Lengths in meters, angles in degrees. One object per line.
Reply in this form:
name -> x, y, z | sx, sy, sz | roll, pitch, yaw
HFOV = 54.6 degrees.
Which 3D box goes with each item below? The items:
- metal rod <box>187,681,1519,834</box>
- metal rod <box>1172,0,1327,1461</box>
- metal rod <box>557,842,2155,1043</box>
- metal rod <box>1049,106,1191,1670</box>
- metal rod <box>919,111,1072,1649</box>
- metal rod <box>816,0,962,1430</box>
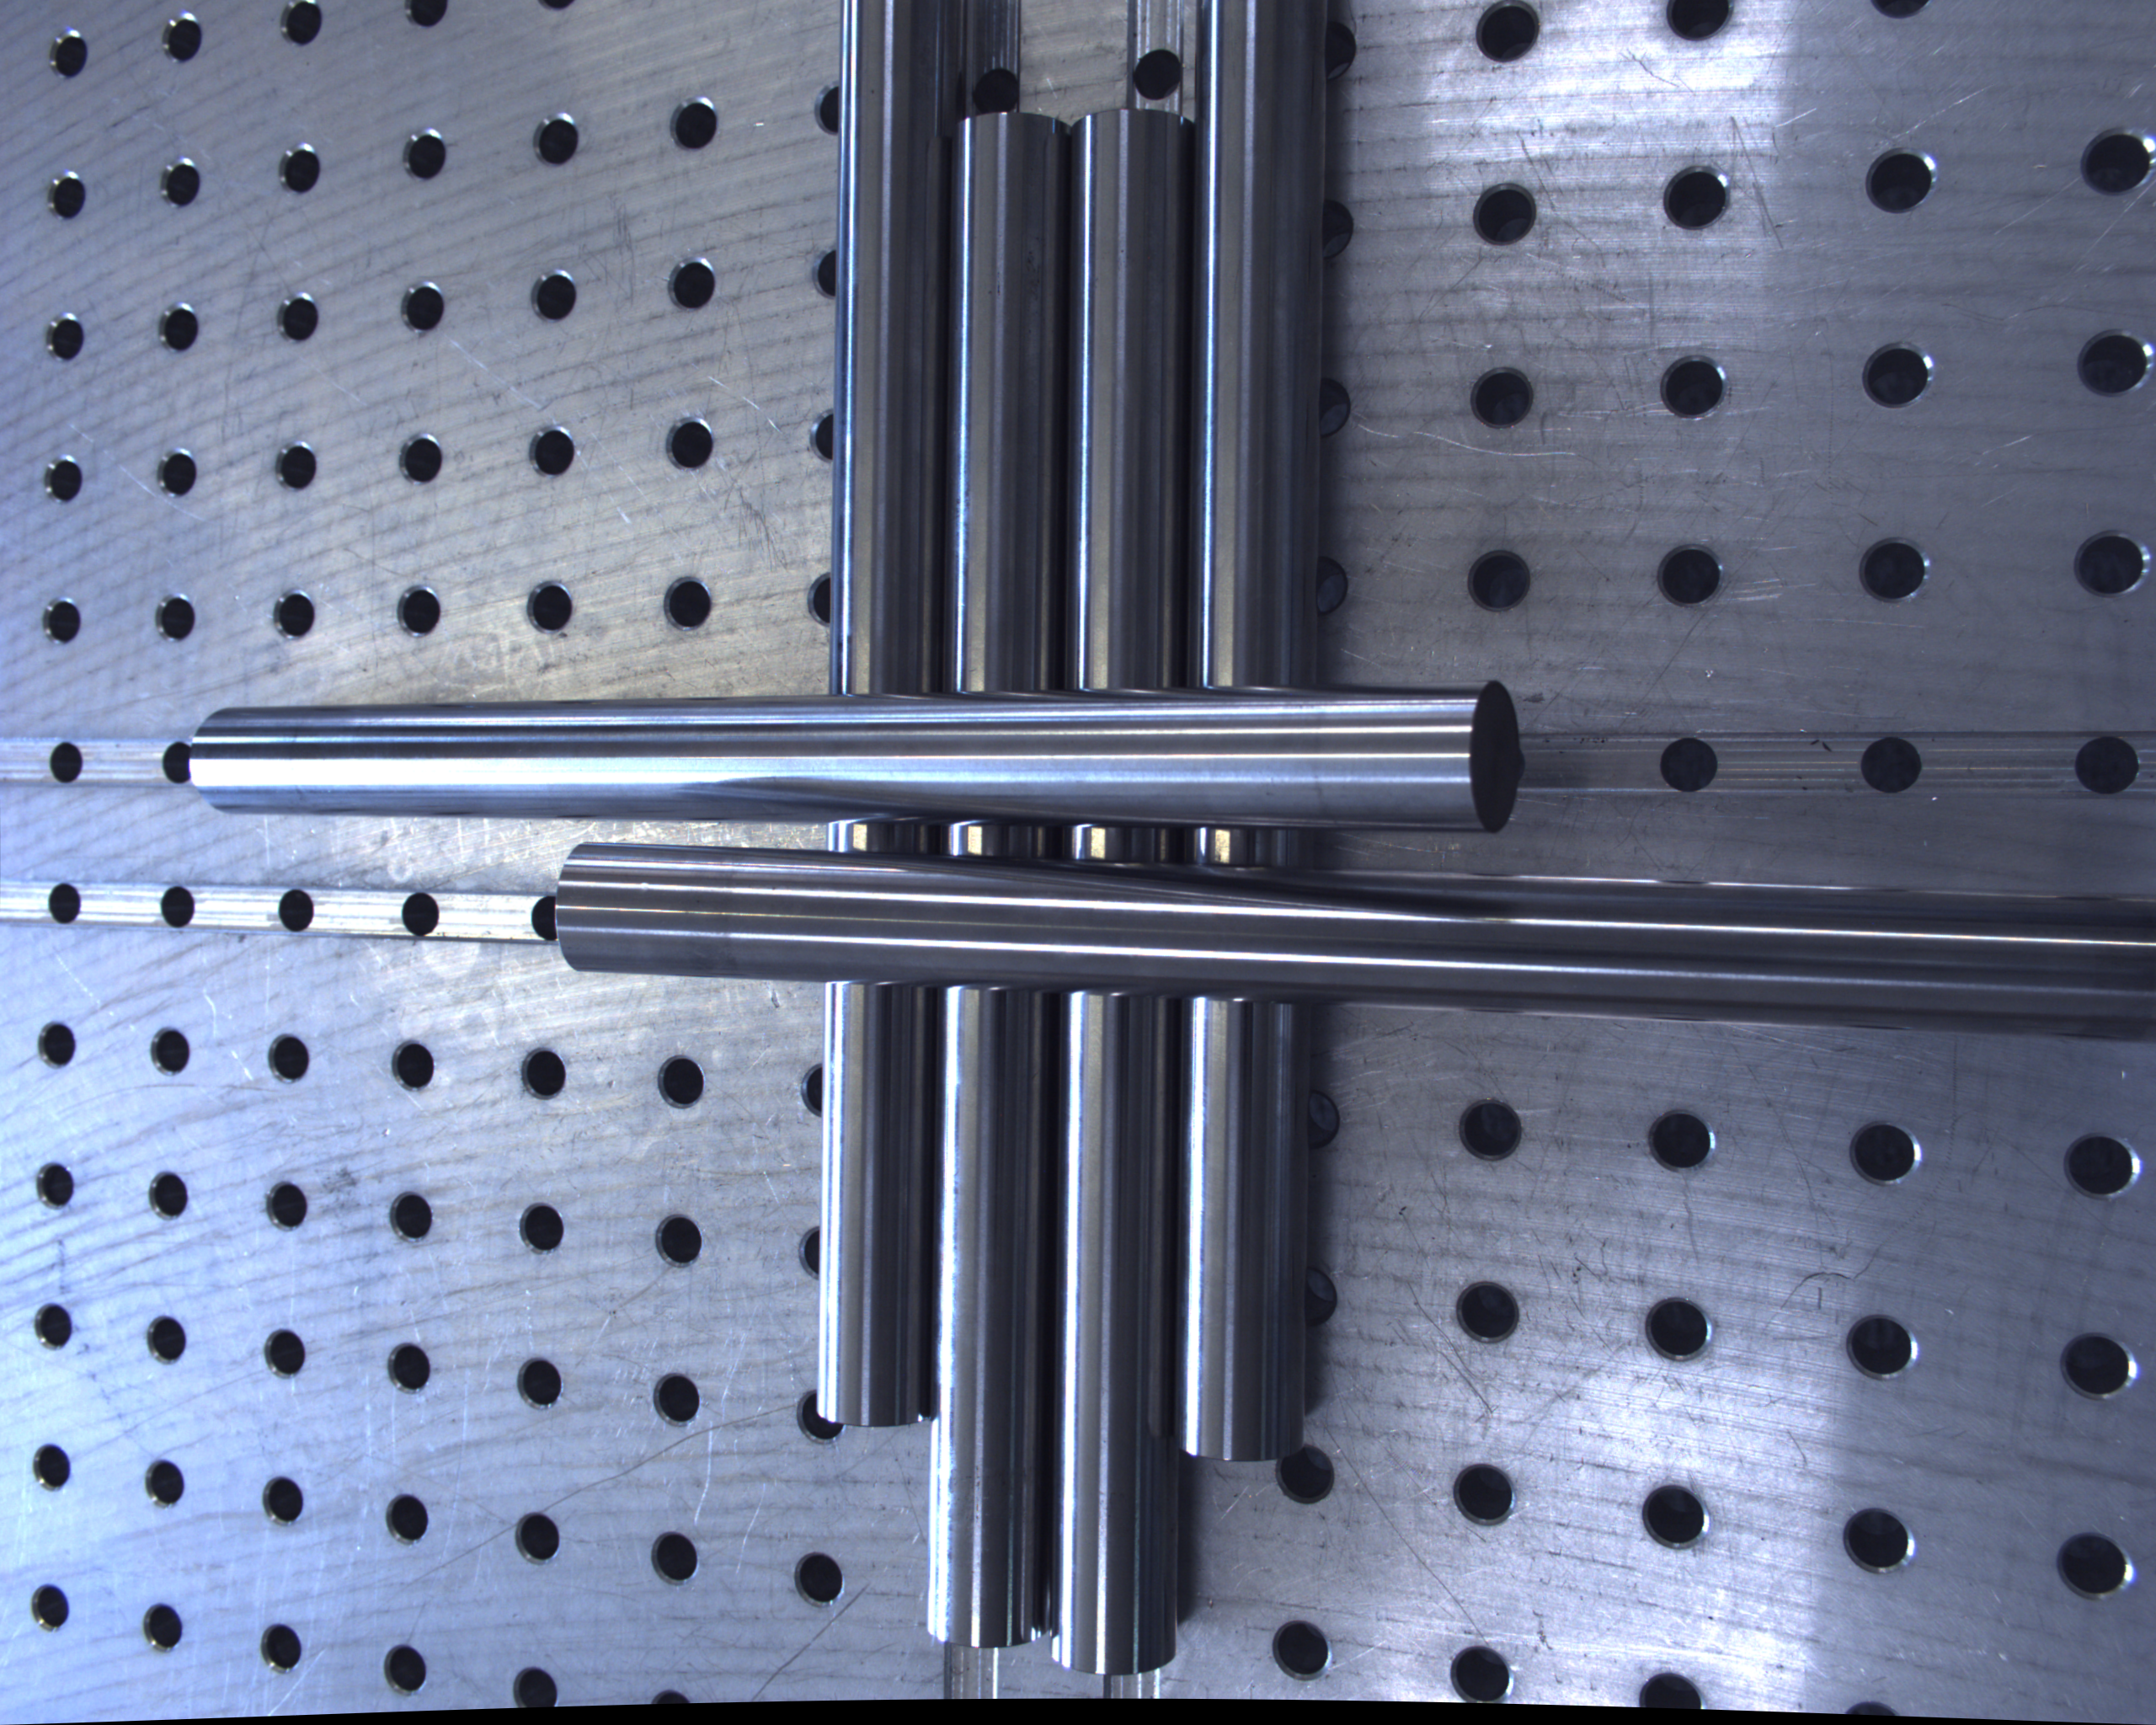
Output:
metal rod -> -0.064, -0.020, 0.411 | 0.300, 0.025, 0.025 | 1, 91, 29
metal rod -> 0.033, -0.038, 0.400 | 0.025, 0.025, 0.298 | 1, 90, 20
metal rod -> 0.053, 0.013, 0.372 | 0.301, 0.025, 0.025 | 2, 91, 11
metal rod -> 0.009, 0.005, 0.411 | 0.025, 0.025, 0.298 | 1, 90, 20
metal rod -> -0.016, 0.004, 0.417 | 0.025, 0.025, 0.298 | 1, 90, 20
metal rod -> -0.038, -0.037, 0.426 | 0.025, 0.025, 0.298 | 1, 90, 20
